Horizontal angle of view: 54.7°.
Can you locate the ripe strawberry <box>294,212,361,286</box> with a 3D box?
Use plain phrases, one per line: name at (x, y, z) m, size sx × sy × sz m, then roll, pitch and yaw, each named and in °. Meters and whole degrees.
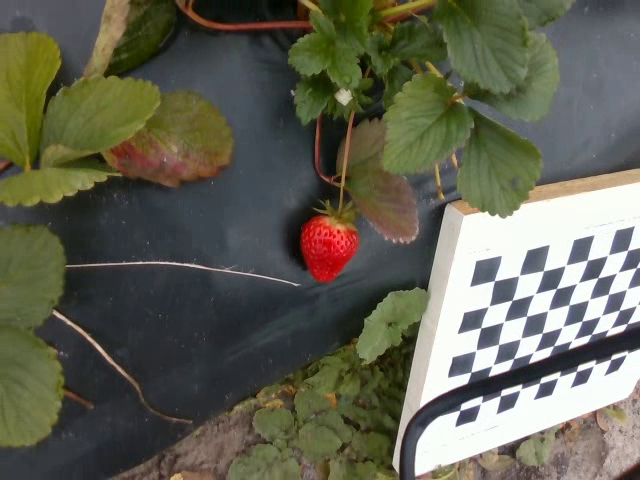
ripe strawberry at (0.004, 0.005, 0.256) m, size 0.029 × 0.032 × 0.022 m, roll 7°, pitch 25°, yaw -27°
